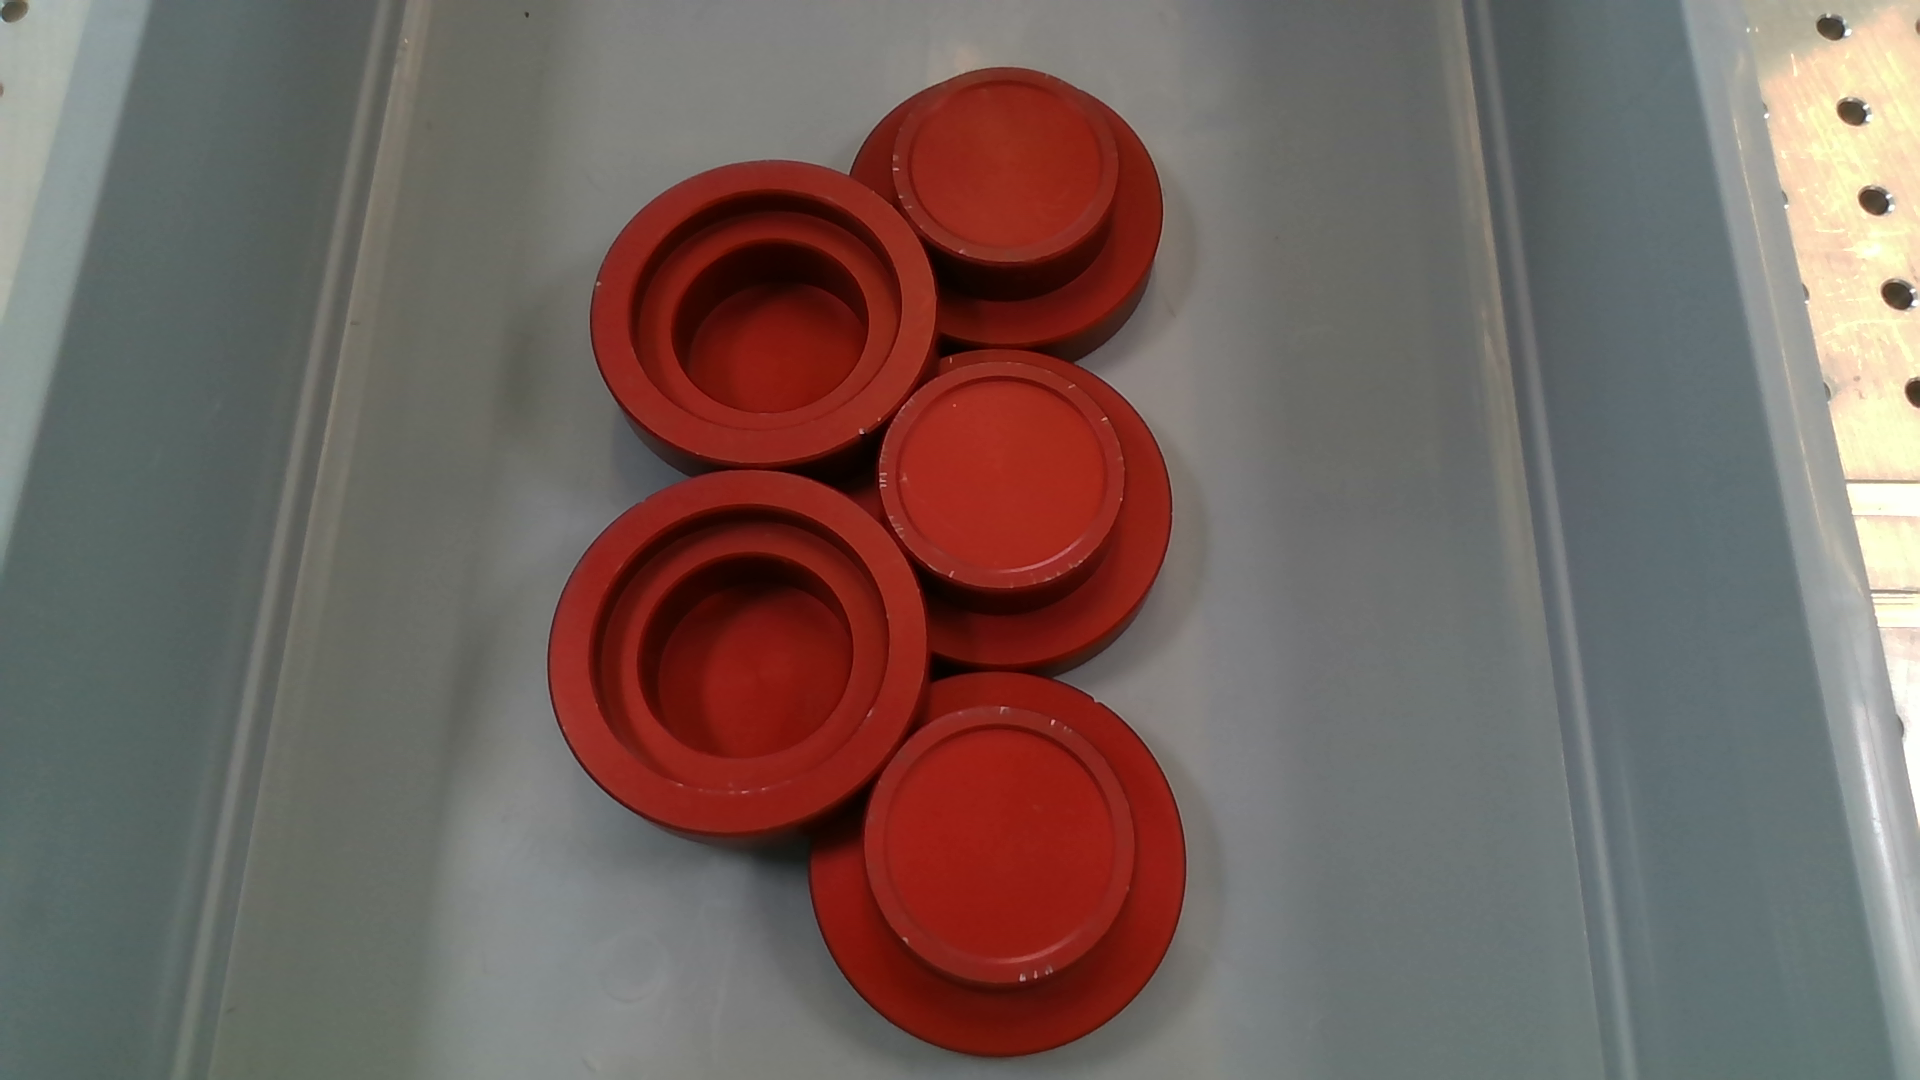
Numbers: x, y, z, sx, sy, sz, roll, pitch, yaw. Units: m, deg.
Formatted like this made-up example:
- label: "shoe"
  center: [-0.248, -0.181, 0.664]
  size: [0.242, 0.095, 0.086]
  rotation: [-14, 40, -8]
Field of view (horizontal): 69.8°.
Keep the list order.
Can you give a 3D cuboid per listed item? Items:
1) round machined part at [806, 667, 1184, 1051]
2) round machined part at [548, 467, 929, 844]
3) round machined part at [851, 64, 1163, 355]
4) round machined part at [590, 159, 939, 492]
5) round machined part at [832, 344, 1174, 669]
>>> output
- label: "round machined part"
  center: [0.009, 0.080, 0.356]
  size: [0.098, 0.042, 0.098]
  rotation: [0, 70, -1]
- label: "round machined part"
  center: [-0.057, 0.033, 0.373]
  size: [0.098, 0.042, 0.098]
  rotation: [0, 70, 0]
- label: "round machined part"
  center: [0.013, -0.104, 0.421]
  size: [0.098, 0.042, 0.098]
  rotation: [0, 71, -1]
- label: "round machined part"
  center: [-0.055, -0.059, 0.406]
  size: [0.098, 0.042, 0.098]
  rotation: [0, 70, 0]
- label: "round machined part"
  center: [0.012, -0.012, 0.389]
  size: [0.098, 0.042, 0.098]
  rotation: [0, 70, -1]
